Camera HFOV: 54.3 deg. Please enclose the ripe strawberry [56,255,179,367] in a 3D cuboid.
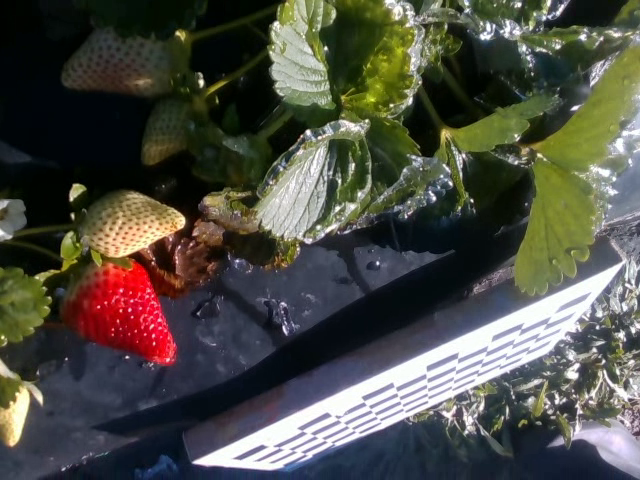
[{"bbox_3d":[-0.076,0.032,0.247,0.040,0.053,0.042,-46,-4,31],"label":"ripe strawberry"}]
